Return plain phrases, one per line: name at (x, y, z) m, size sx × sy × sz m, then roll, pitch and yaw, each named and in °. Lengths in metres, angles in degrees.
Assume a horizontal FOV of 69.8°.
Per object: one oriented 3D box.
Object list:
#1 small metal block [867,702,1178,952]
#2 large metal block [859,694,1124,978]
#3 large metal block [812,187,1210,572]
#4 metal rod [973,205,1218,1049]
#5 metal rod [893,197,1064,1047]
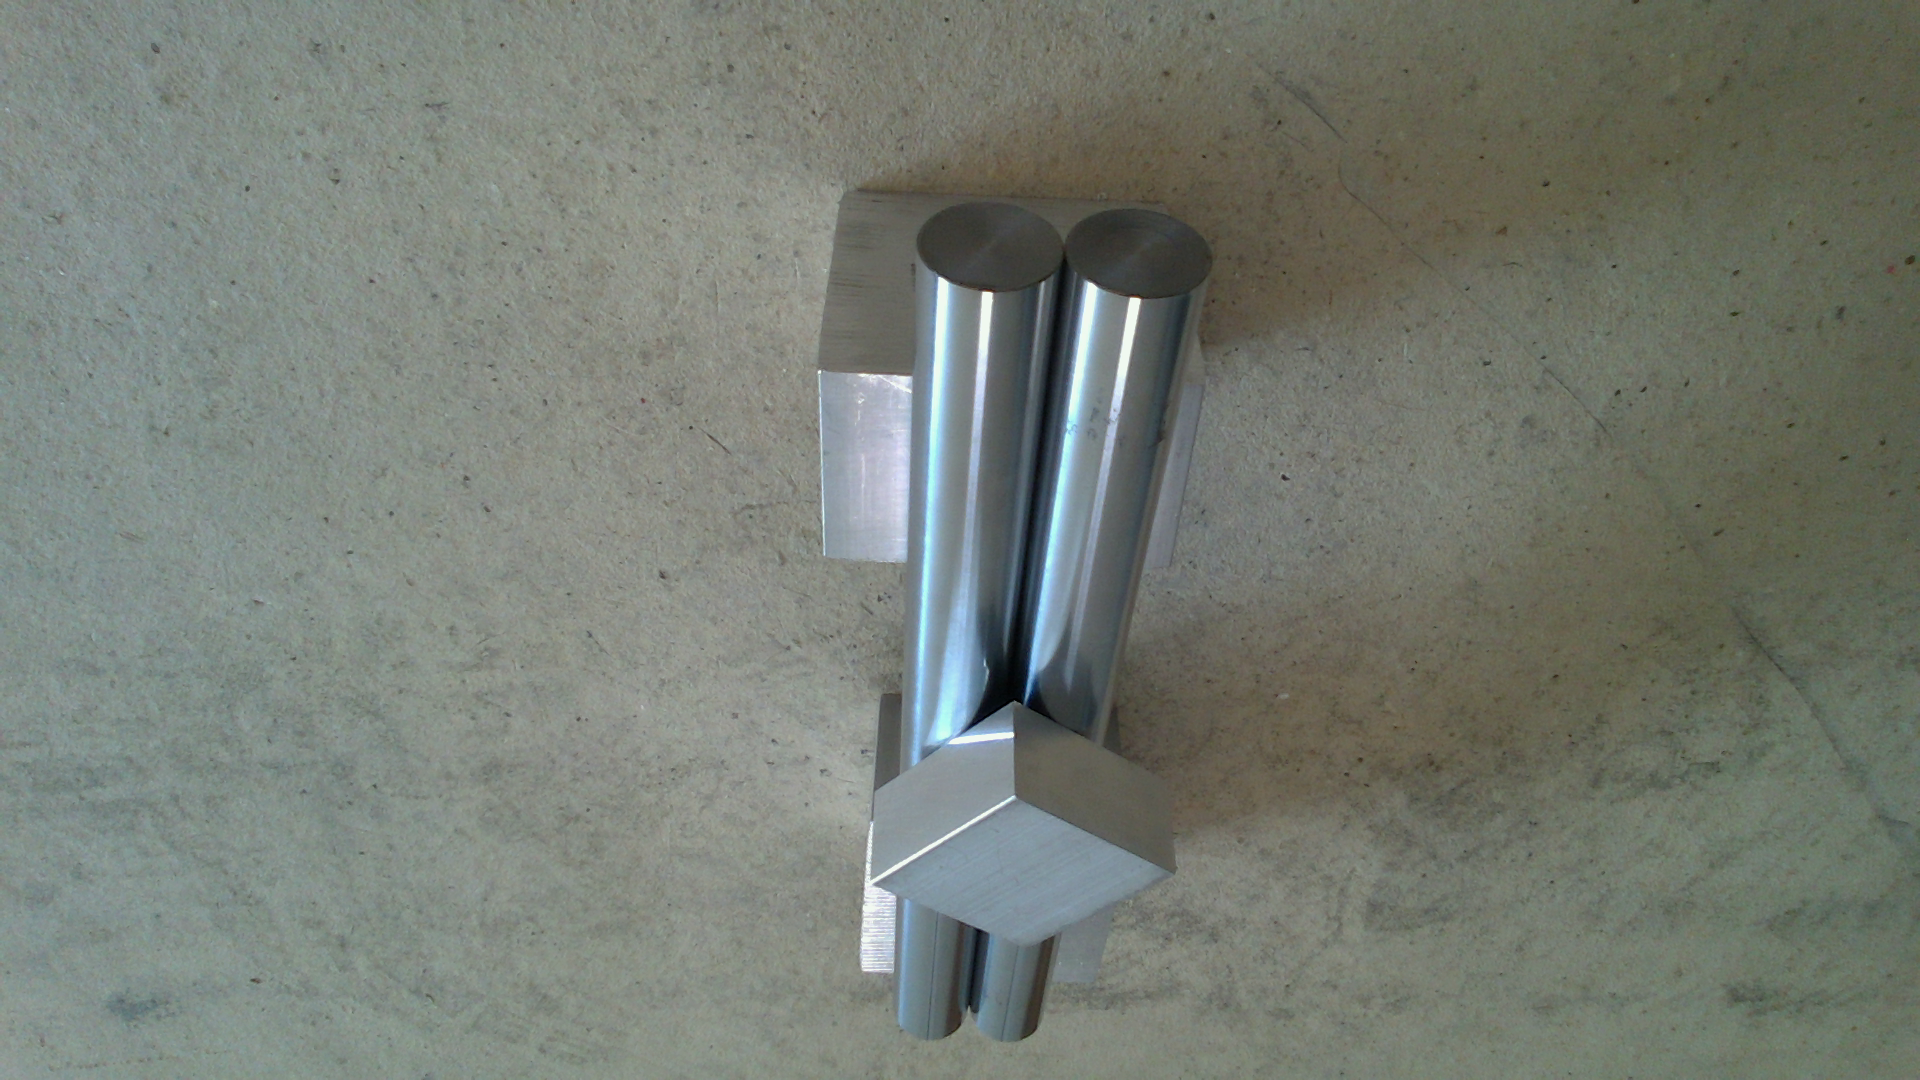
small metal block at (0.014, 0.069, 0.321) m, size 0.050 × 0.025 × 0.050 m, roll 30°, pitch 130°, yaw -30°
large metal block at (0.009, 0.099, 0.458) m, size 0.080 × 0.050 × 0.080 m, roll 4°, pitch 130°, yaw -3°
large metal block at (0.009, -0.039, 0.322) m, size 0.080 × 0.080 × 0.050 m, roll 2°, pitch 130°, yaw -2°
metal rod at (0.023, 0.053, 0.340) m, size 0.025 × 0.025 × 0.300 m, roll 2°, pitch 137°, yaw -2°
metal rod at (-0.002, 0.052, 0.339) m, size 0.025 × 0.025 × 0.300 m, roll 2°, pitch 137°, yaw -2°
